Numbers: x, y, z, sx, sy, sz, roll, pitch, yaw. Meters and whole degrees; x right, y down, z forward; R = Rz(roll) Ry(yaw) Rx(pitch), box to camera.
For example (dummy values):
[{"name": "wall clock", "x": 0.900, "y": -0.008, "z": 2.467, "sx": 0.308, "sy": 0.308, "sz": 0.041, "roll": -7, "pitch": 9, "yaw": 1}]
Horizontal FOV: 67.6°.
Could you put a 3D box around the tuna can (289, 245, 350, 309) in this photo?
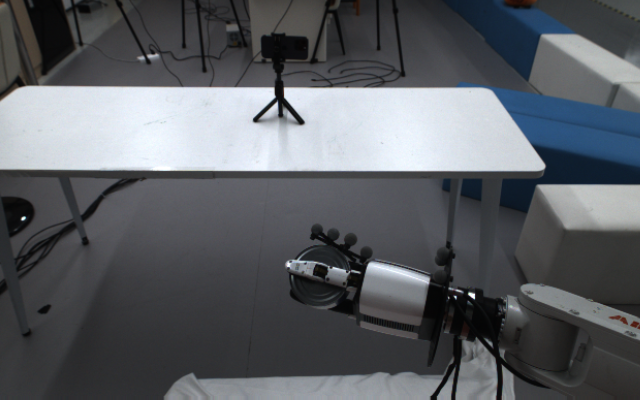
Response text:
[{"name": "tuna can", "x": 0.004, "y": 0.105, "z": 0.671, "sx": 0.085, "sy": 0.034, "sz": 0.085, "roll": -4, "pitch": 67, "yaw": 10}]
